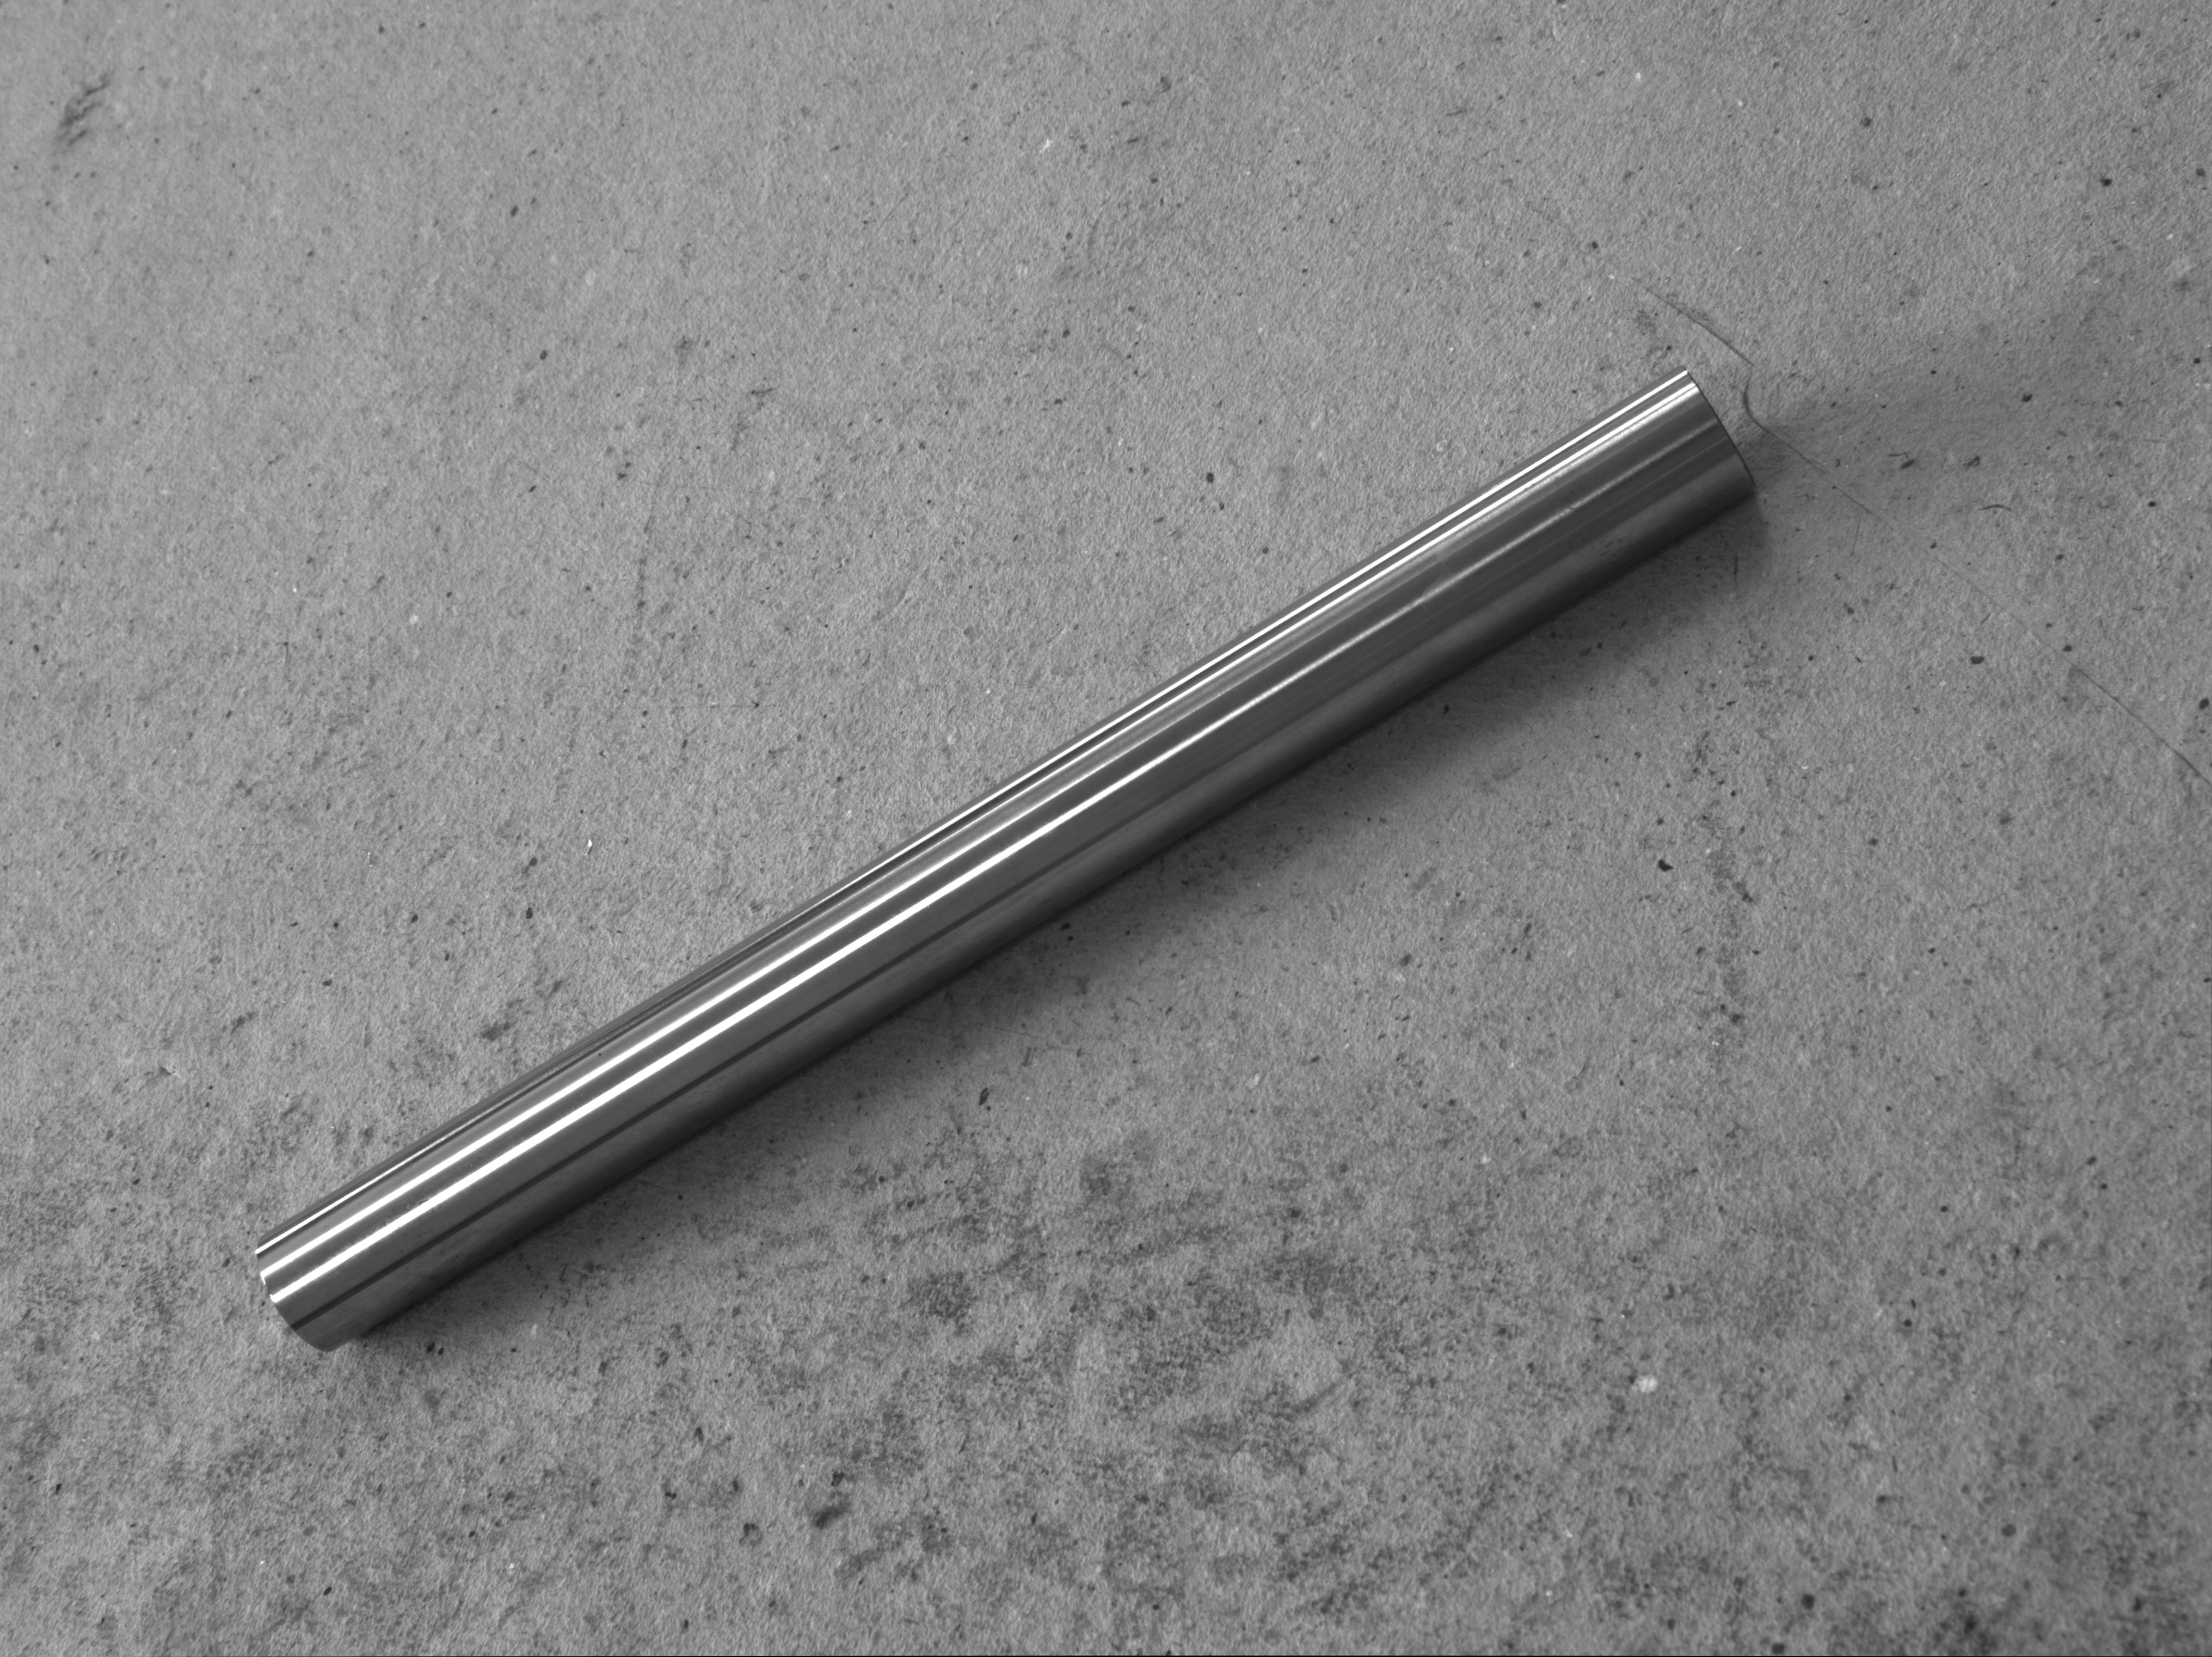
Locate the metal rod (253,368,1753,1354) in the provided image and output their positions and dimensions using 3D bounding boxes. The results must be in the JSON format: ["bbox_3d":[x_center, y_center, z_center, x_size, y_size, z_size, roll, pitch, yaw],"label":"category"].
[{"bbox_3d":[-0.022,0.009,0.653,0.300,0.025,0.025,-31,51,8],"label":"metal rod"}]
